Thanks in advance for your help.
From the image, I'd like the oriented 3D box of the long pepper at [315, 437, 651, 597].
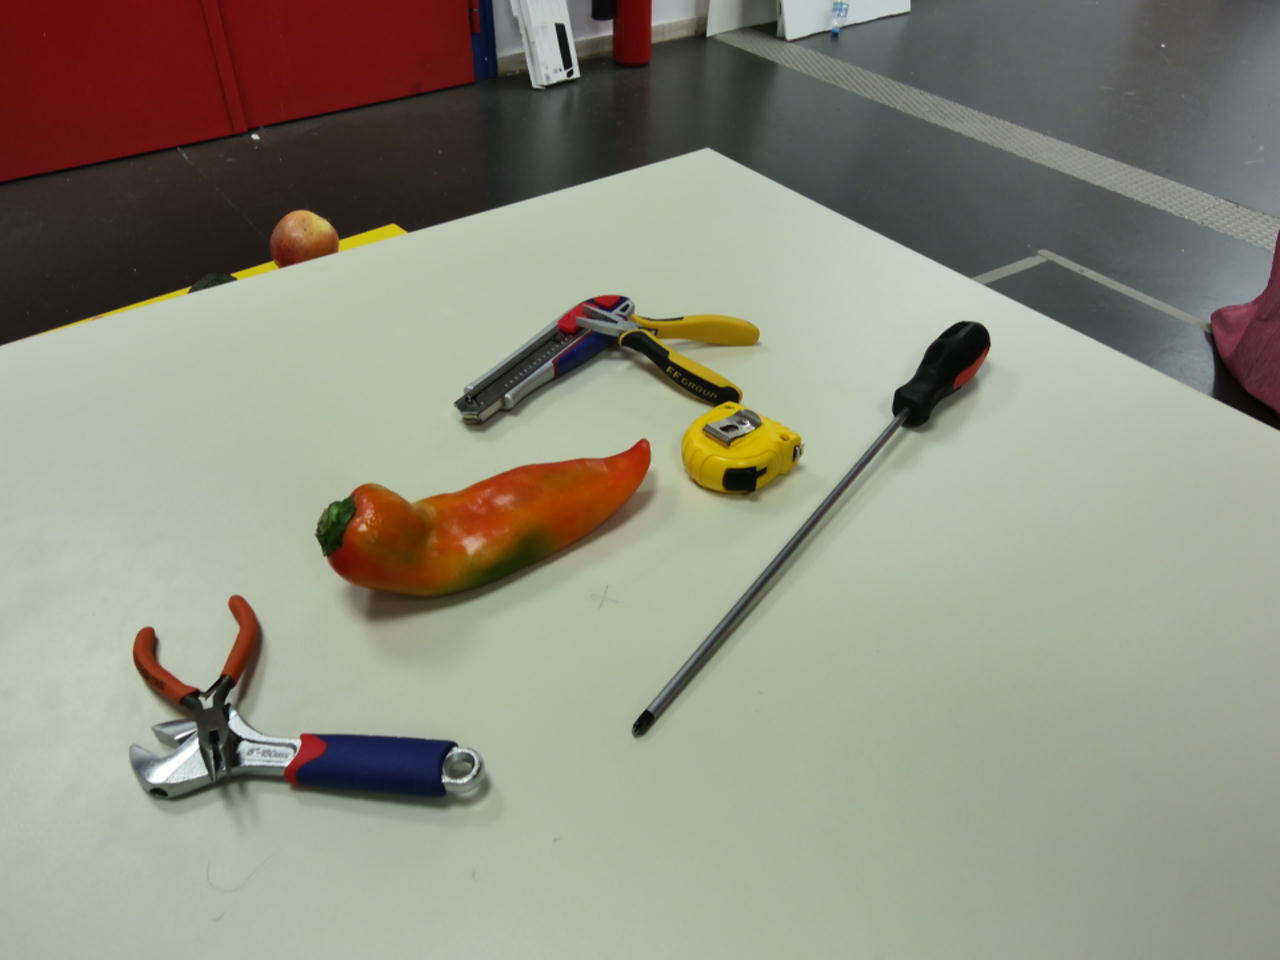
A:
[{"bbox_3d":[-0.075,0.010,0.545,0.199,0.065,0.066,-21,43,-25],"label":"long pepper"}]
